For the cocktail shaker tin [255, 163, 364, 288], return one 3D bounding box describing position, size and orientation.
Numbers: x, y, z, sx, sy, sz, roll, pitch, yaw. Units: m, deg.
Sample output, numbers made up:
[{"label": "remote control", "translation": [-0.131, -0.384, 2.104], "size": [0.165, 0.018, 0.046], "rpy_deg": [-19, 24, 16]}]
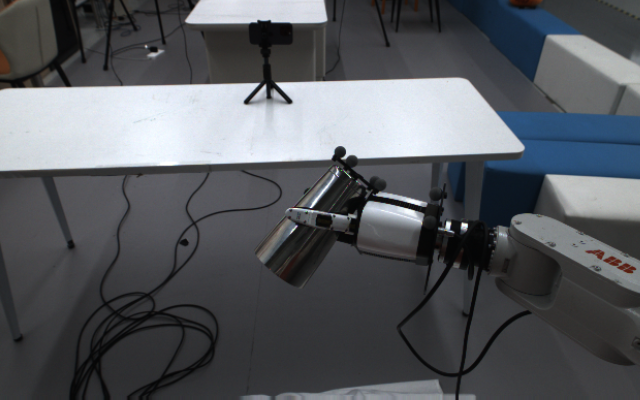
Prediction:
[{"label": "cocktail shaker tin", "translation": [-0.007, 0.031, 0.708], "size": [0.170, 0.093, 0.093], "rpy_deg": [-50, 46, 4]}]
